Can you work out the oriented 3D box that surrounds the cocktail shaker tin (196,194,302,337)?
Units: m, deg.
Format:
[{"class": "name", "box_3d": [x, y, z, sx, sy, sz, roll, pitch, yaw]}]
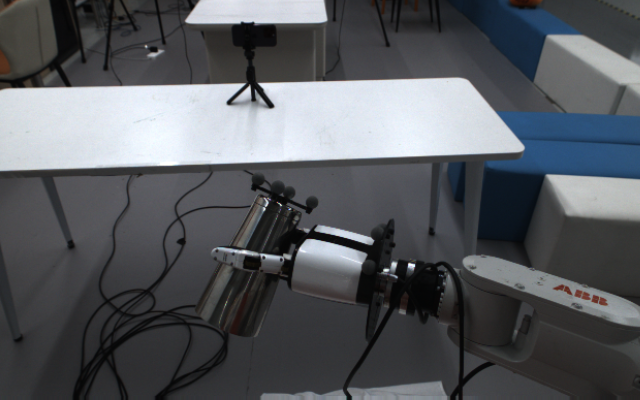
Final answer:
[{"class": "cocktail shaker tin", "box_3d": [-0.086, 0.080, 0.641, 0.093, 0.170, 0.093, 23, 0, 0]}]
